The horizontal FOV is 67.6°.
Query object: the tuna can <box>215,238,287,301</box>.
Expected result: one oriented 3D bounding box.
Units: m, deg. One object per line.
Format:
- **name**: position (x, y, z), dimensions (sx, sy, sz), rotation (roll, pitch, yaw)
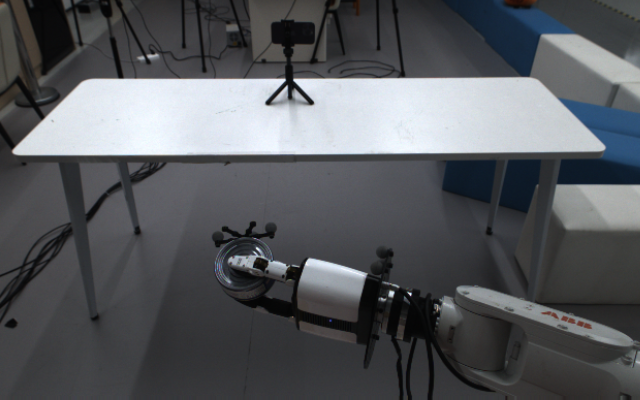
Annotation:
- **tuna can**: position (-0.101, 0.103, 0.682), dimensions (0.085, 0.034, 0.085), rotation (-3, 59, 5)
